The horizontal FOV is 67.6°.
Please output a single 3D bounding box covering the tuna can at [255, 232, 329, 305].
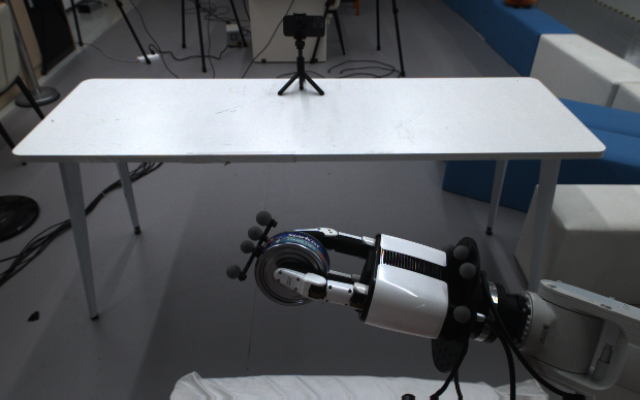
[{"bbox_3d":[-0.028,0.085,0.565,0.085,0.085,0.034,3,21,2],"label":"tuna can"}]
